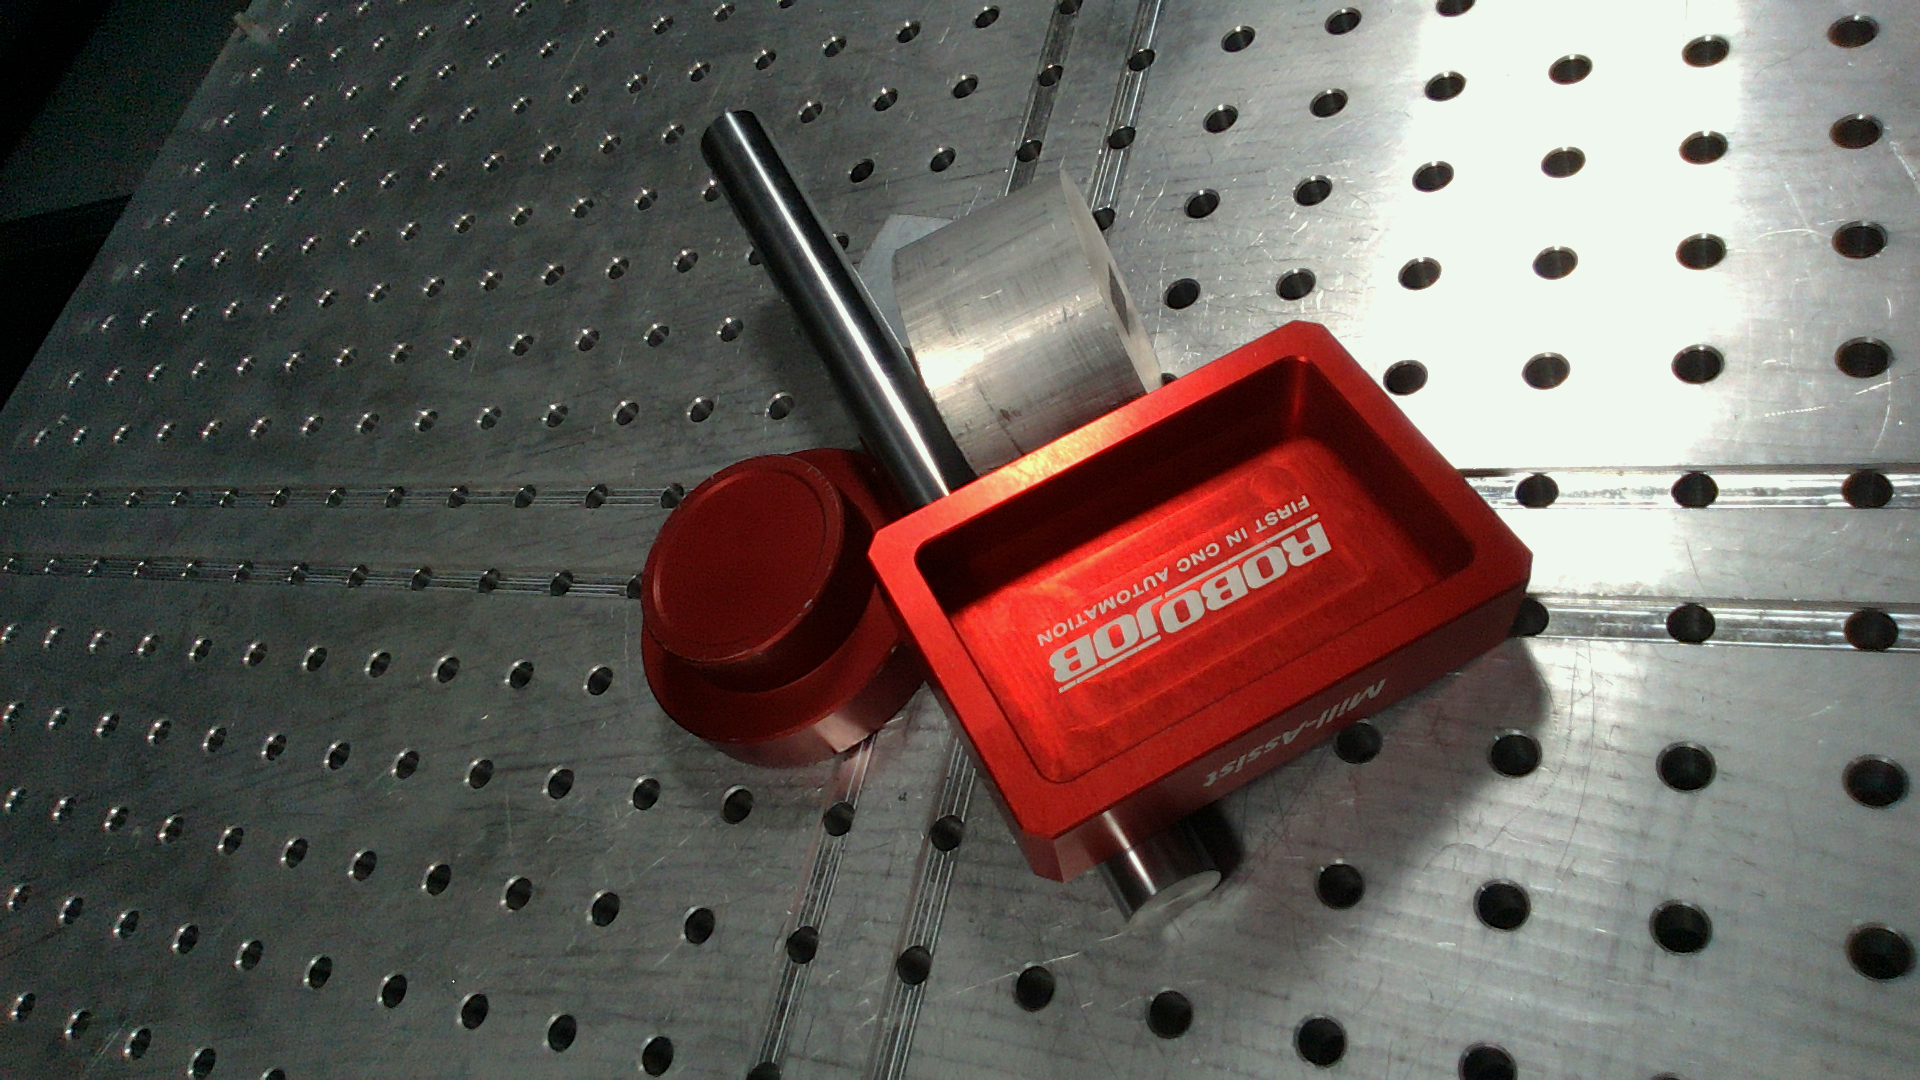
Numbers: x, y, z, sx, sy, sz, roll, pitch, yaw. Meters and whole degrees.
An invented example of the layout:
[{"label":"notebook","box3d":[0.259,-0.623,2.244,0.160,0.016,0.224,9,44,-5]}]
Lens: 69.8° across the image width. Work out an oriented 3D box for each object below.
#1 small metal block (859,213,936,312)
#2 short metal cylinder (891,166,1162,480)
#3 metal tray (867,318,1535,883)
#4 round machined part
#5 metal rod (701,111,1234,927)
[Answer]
[{"label":"small metal block","box3d":[-0.009,-0.078,0.451,0.050,0.025,0.050,14,69,34]},{"label":"short metal cylinder","box3d":[0.022,-0.056,0.383,0.050,0.080,0.080,-23,53,15]},{"label":"metal tray","box3d":[0.055,0.010,0.330,0.130,0.030,0.090,-27,58,-8]},{"label":"round machined part","box3d":[-0.055,0.014,0.406,0.098,0.042,0.098,-13,56,21]},{"label":"metal rod","box3d":[-0.012,-0.027,0.398,0.025,0.025,0.299,-34,59,6]}]
